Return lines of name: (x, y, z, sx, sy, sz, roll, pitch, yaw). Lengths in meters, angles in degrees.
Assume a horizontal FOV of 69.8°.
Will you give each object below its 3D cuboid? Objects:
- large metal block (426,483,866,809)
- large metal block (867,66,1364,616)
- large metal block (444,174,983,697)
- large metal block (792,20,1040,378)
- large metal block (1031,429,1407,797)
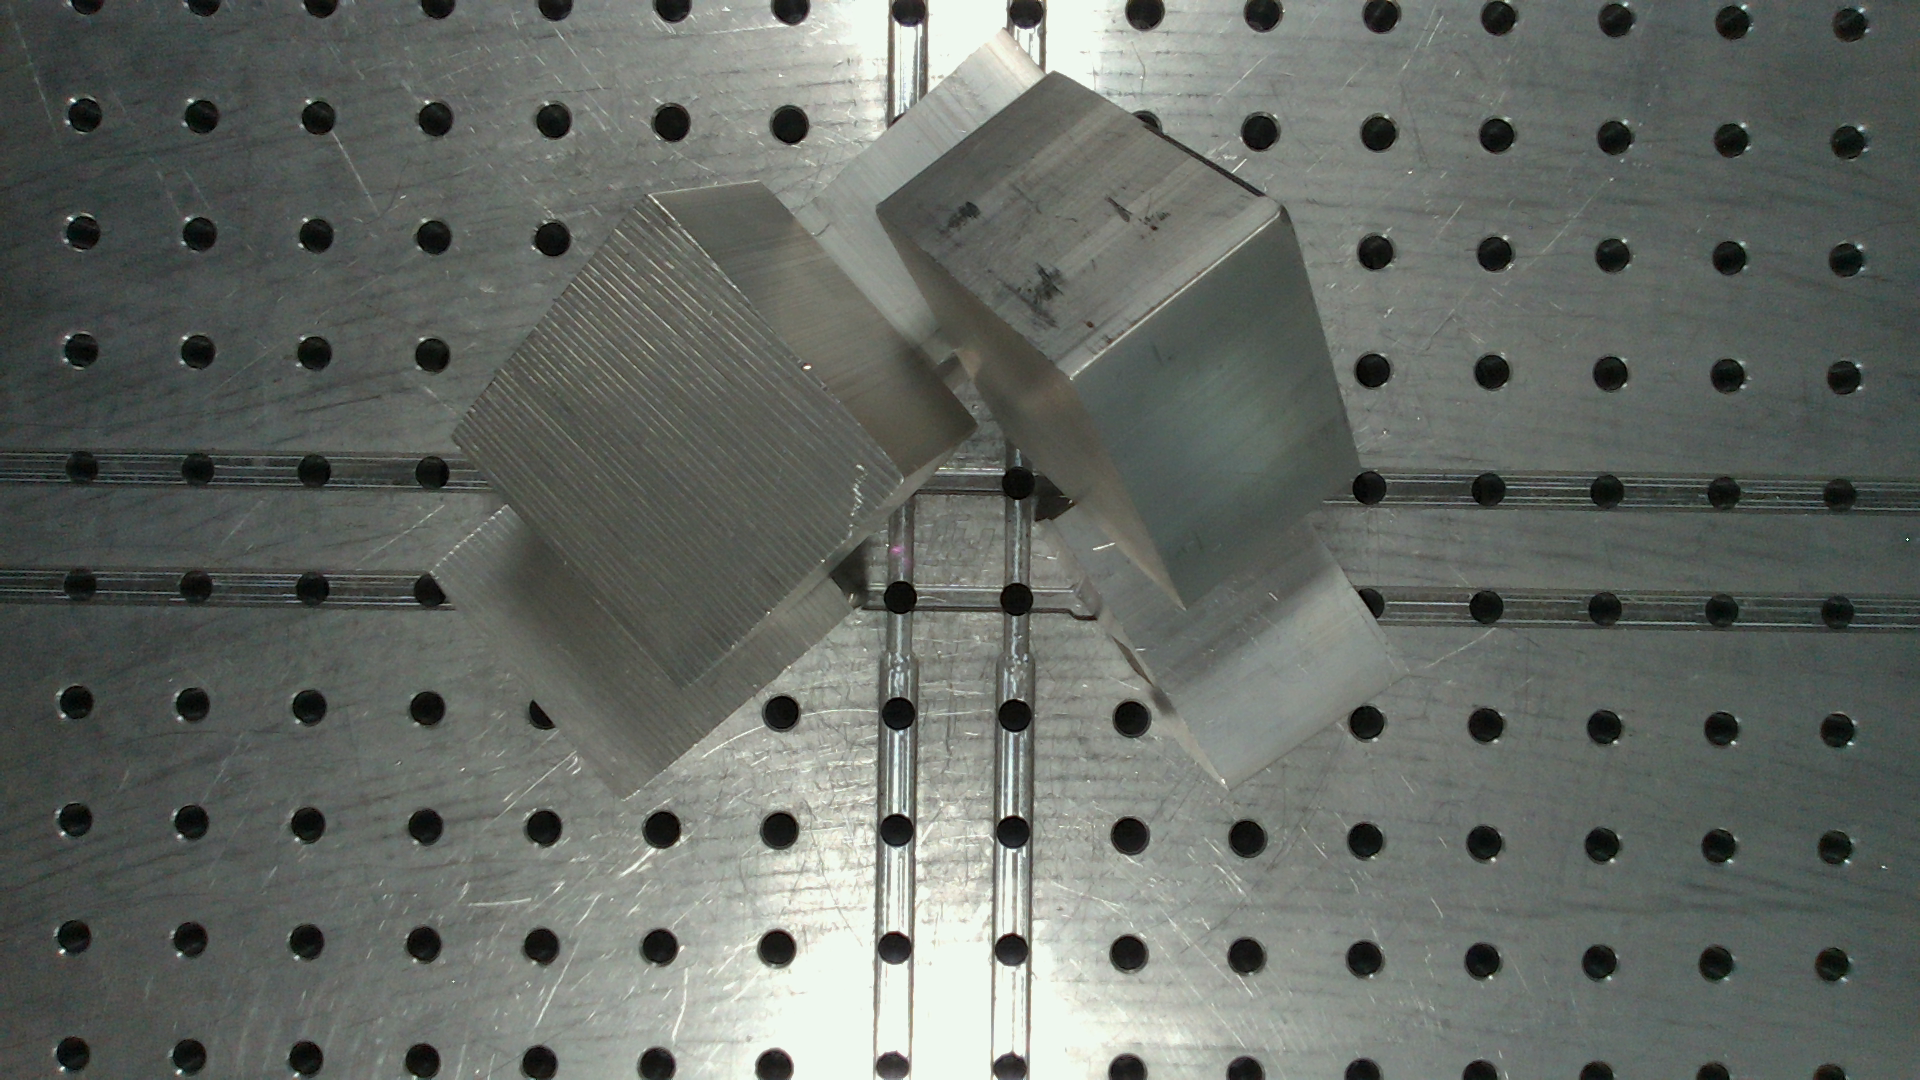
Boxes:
large metal block: (-0.083, 0.014, 0.384, 0.080, 0.050, 0.080, -40, 90, 0)
large metal block: (0.035, -0.043, 0.299, 0.050, 0.080, 0.080, -39, 48, -4)
large metal block: (-0.056, -0.025, 0.319, 0.080, 0.050, 0.080, 48, 116, 0)
large metal block: (-0.003, -0.079, 0.368, 0.080, 0.080, 0.050, -42, 90, 0)
large metal block: (0.064, 0.014, 0.369, 0.050, 0.080, 0.080, -34, 90, 0)
